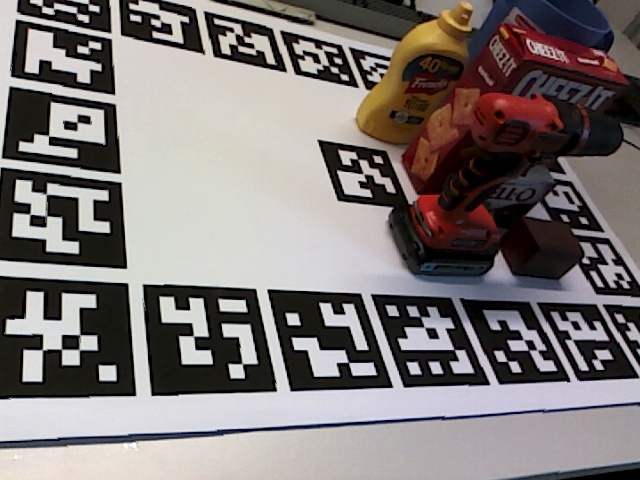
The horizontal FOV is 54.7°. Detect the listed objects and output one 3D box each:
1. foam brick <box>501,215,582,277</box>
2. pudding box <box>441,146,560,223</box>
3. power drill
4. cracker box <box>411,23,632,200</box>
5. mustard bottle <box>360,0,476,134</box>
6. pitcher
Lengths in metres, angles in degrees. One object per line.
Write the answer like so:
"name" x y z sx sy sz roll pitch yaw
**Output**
"foam brick" 0.268 0.009 0.761 0.077 0.051 0.053 7 52 -25
"pudding box" 0.216 -0.066 0.750 0.113 0.090 0.039 4 50 -24
"power drill" 0.202 -0.063 0.639 0.183 0.187 0.057 4 48 -28
"cracker box" 0.233 -0.137 0.744 0.163 0.214 0.072 1 51 -26
"mustard bottle" 0.132 -0.220 0.768 0.096 0.192 0.058 15 48 -18
"pitcher" 0.254 -0.218 0.819 0.188 0.243 0.134 9 49 -21
